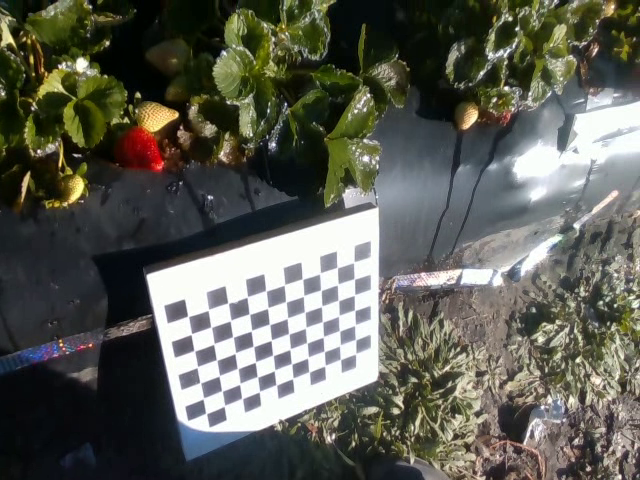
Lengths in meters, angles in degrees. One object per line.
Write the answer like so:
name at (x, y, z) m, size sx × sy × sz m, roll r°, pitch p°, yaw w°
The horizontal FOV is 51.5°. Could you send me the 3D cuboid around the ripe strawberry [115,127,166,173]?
ripe strawberry at (-0.153, -0.074, 0.568) m, size 0.053 × 0.040 × 0.042 m, roll 38°, pitch -6°, yaw 24°
